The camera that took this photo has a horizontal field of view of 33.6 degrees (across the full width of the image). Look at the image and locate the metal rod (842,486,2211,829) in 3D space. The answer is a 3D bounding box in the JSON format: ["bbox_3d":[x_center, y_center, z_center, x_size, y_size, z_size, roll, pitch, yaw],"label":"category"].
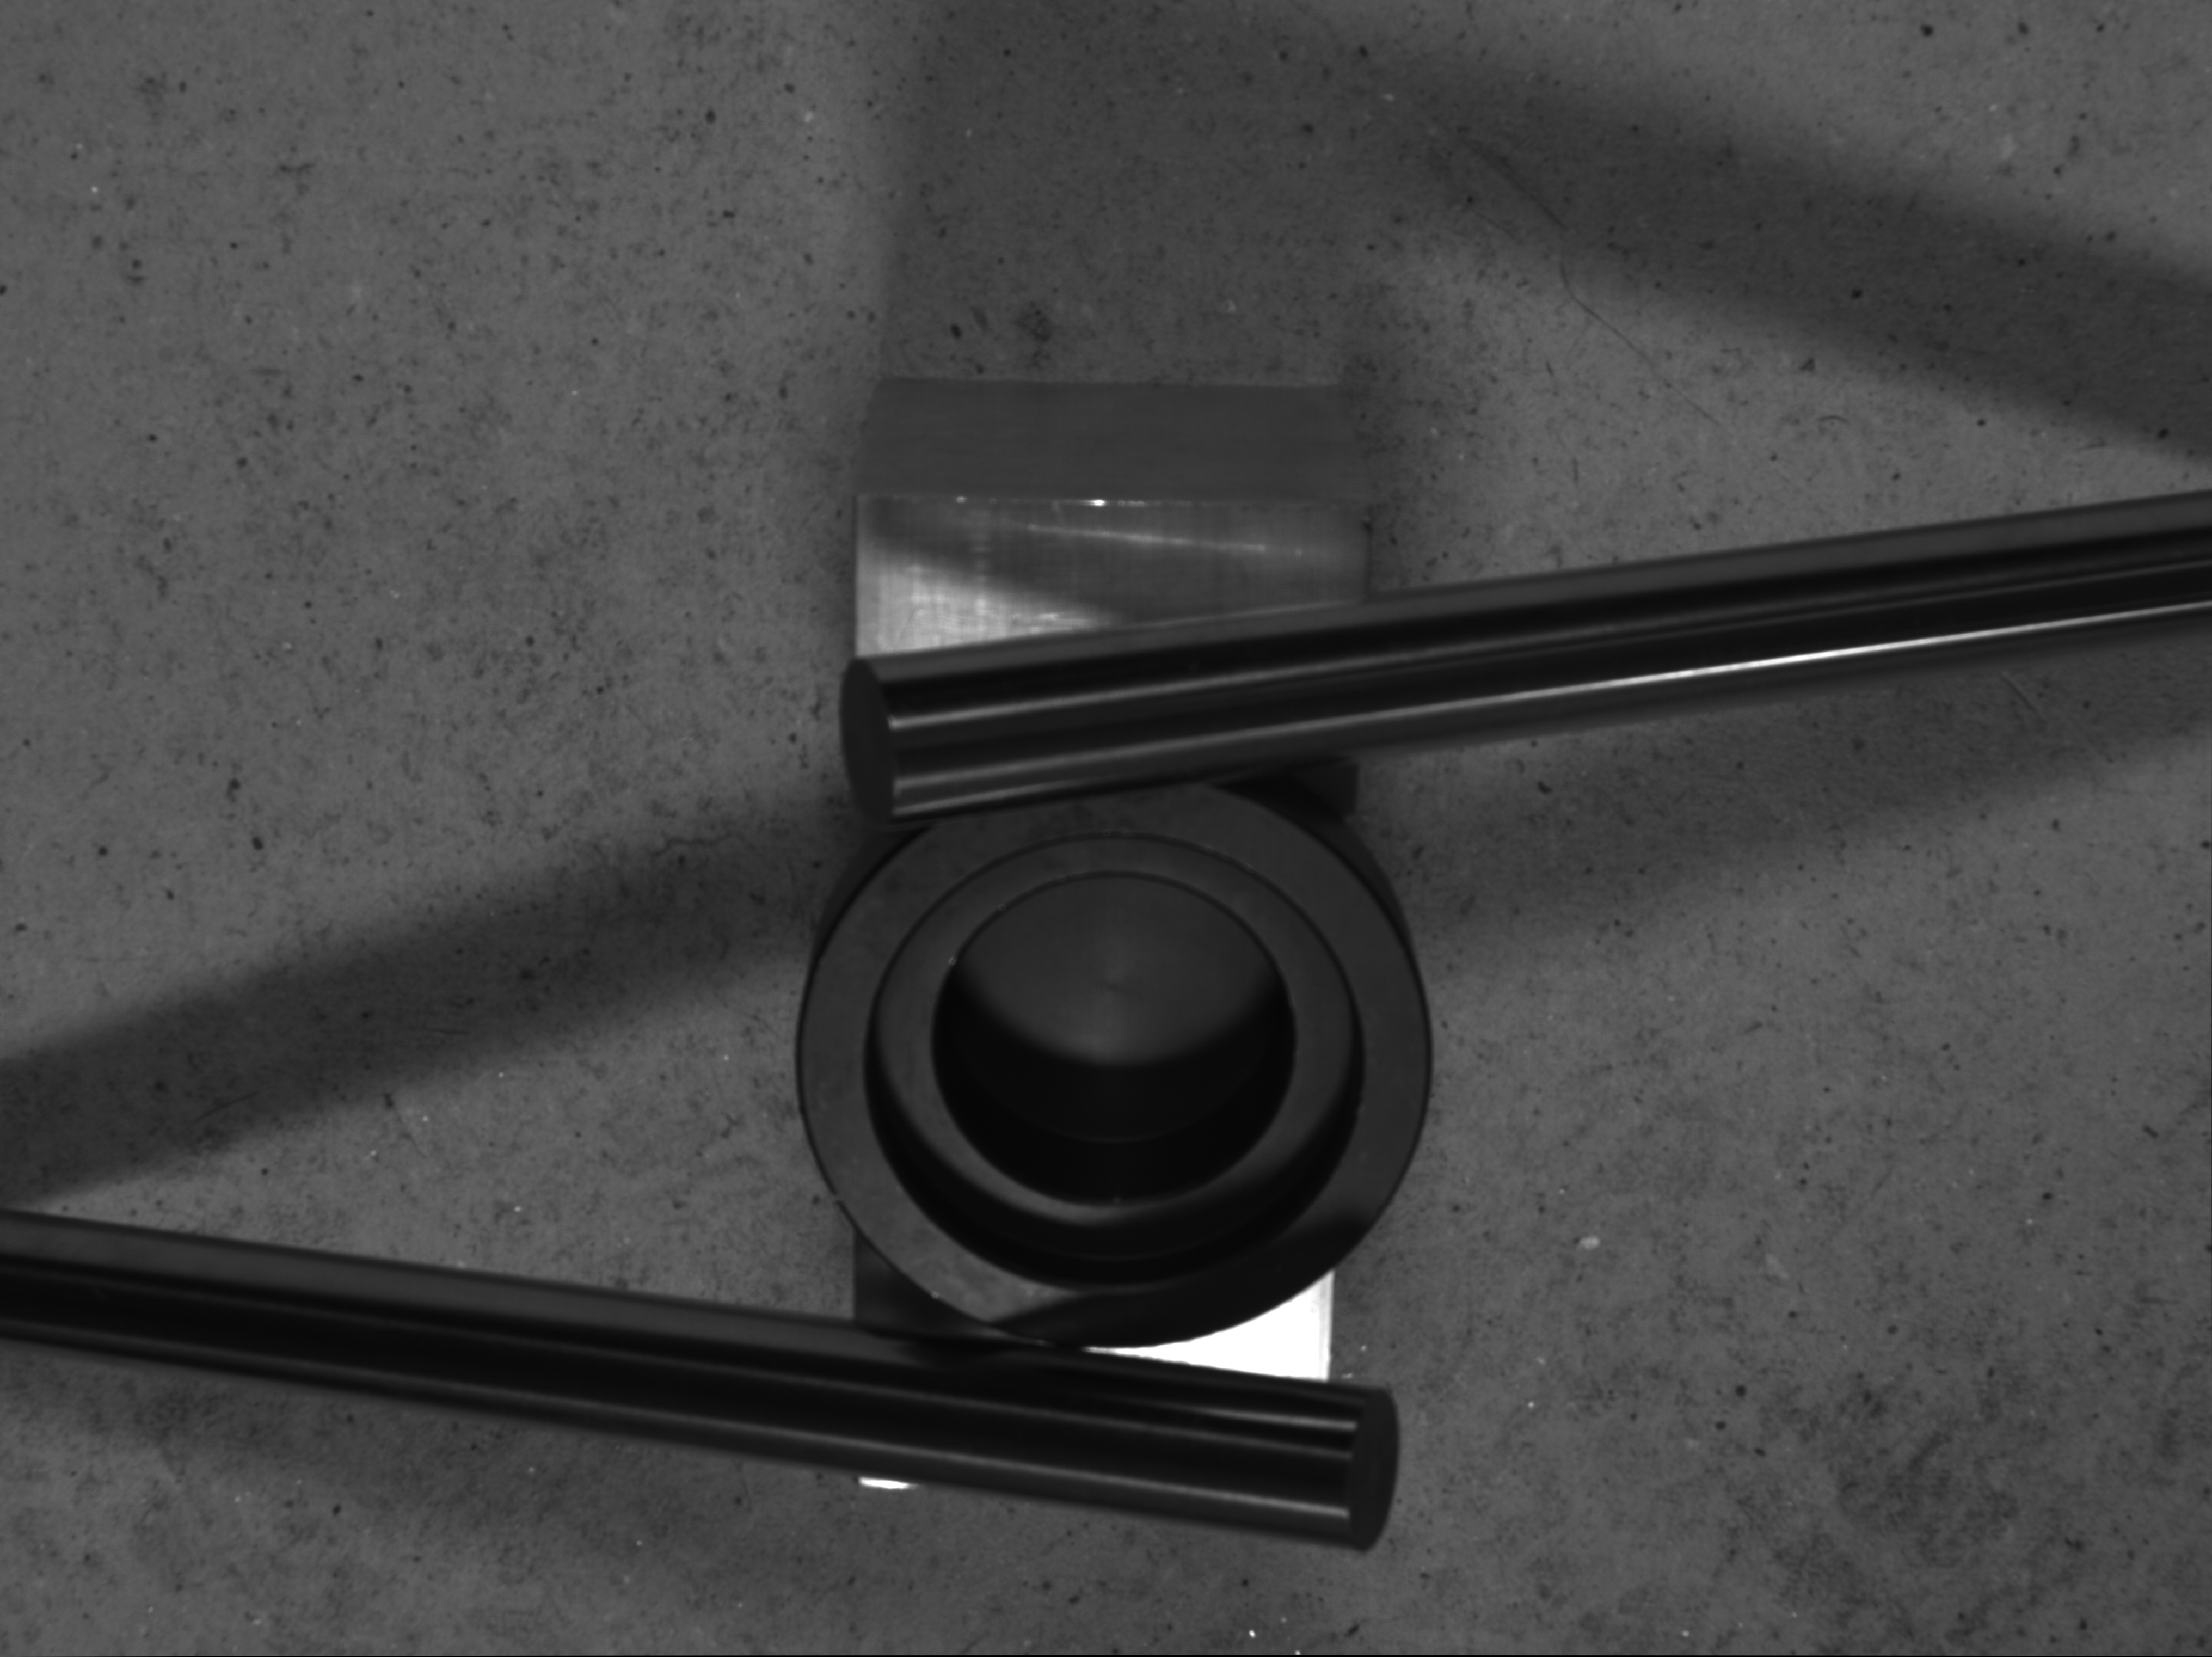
[{"bbox_3d":[0.105,-0.033,0.575,0.301,0.025,0.025,-8,111,-21],"label":"metal rod"}]

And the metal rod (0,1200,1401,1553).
[{"bbox_3d":[-0.097,0.087,0.615,0.299,0.025,0.025,4,112,22],"label":"metal rod"}]

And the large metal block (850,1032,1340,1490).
[{"bbox_3d":[-0.002,0.074,0.641,0.080,0.080,0.050,1,110,-1],"label":"large metal block"}]

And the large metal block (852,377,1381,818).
[{"bbox_3d":[0.001,-0.040,0.600,0.080,0.080,0.050,1,110,-1],"label":"large metal block"}]

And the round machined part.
[{"bbox_3d":[0.001,0.030,0.582,0.098,0.042,0.098,0,110,-1],"label":"round machined part"}]
